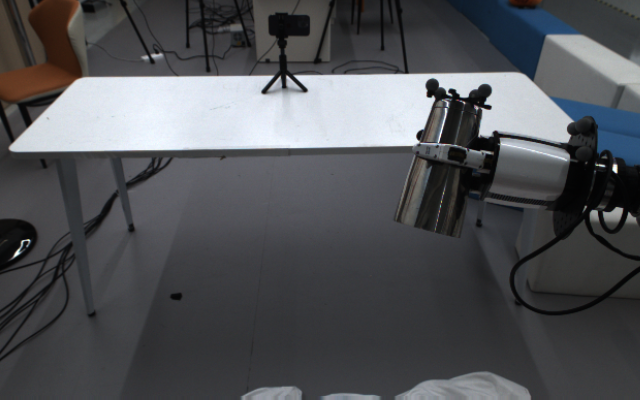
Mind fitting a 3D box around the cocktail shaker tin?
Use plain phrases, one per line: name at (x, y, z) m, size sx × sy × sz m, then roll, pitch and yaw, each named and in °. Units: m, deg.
cocktail shaker tin at (0.163, -0.044, 0.651) m, size 0.093 × 0.170 × 0.093 m, roll 14°, pitch 2°, yaw 0°
